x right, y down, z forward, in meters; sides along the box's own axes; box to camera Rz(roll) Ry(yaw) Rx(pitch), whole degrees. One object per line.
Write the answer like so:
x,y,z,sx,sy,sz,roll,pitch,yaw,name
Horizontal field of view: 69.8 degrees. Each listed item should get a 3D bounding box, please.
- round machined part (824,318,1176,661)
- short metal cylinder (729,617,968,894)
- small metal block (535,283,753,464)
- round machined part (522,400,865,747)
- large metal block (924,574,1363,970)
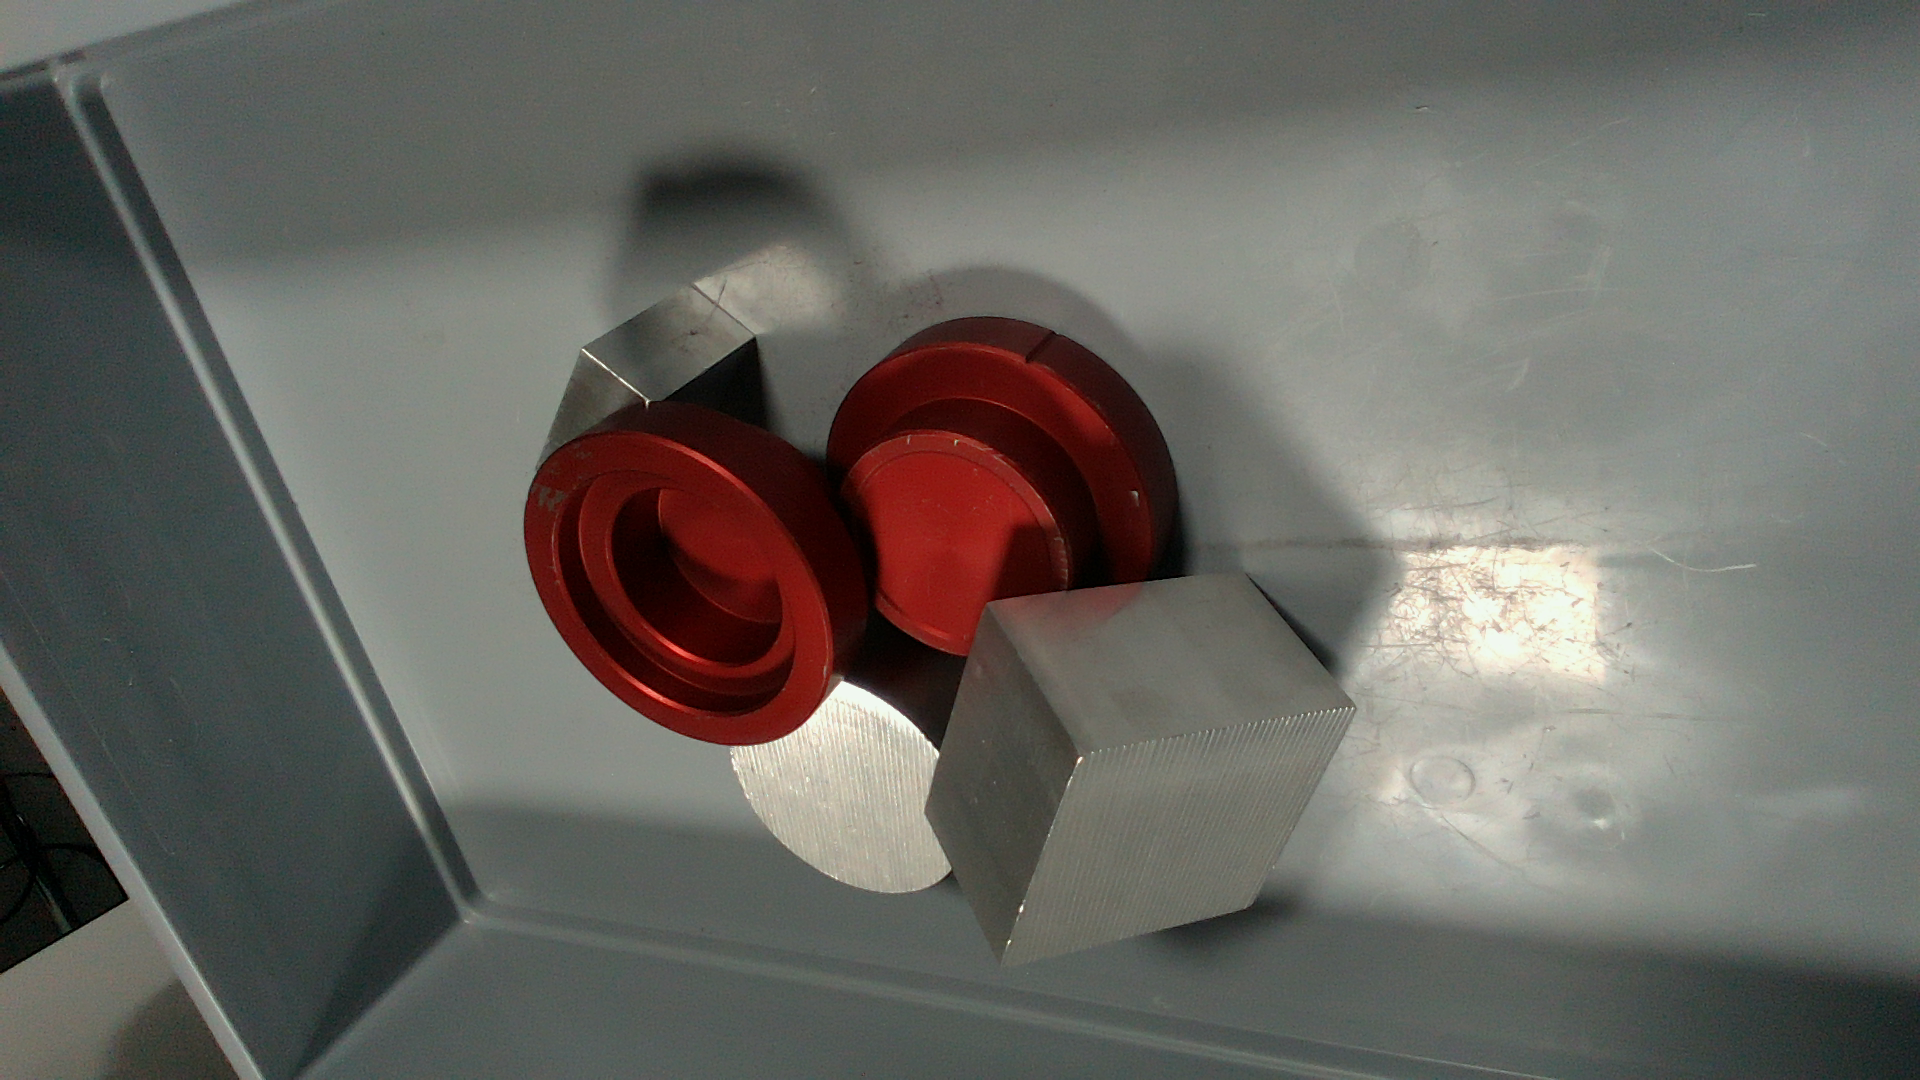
0.005,-0.007,0.371,0.098,0.042,0.098,13,124,21,round machined part
-0.024,0.061,0.426,0.080,0.050,0.080,13,124,21,short metal cylinder
-0.092,-0.040,0.399,0.025,0.050,0.050,38,130,3,small metal block
-0.069,0.006,0.383,0.098,0.042,0.098,13,124,21,round machined part
0.044,0.059,0.360,0.050,0.080,0.080,58,143,43,large metal block
